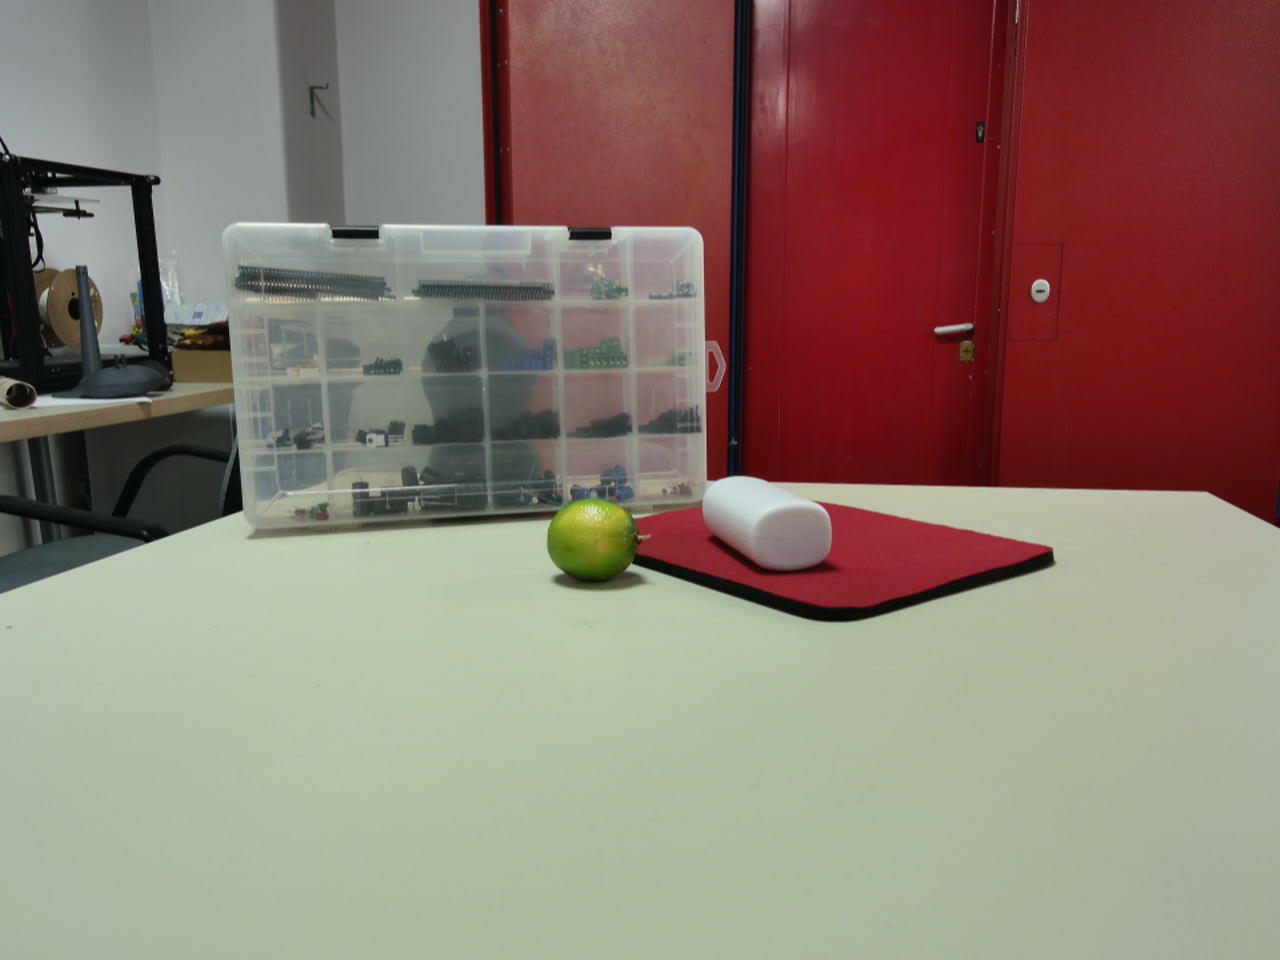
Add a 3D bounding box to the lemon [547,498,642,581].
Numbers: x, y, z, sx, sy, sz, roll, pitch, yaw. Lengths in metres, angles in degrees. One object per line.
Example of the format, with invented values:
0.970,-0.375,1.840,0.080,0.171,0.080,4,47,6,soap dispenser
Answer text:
-0.029,0.037,0.618,0.054,0.050,0.055,-4,9,-28,lemon
